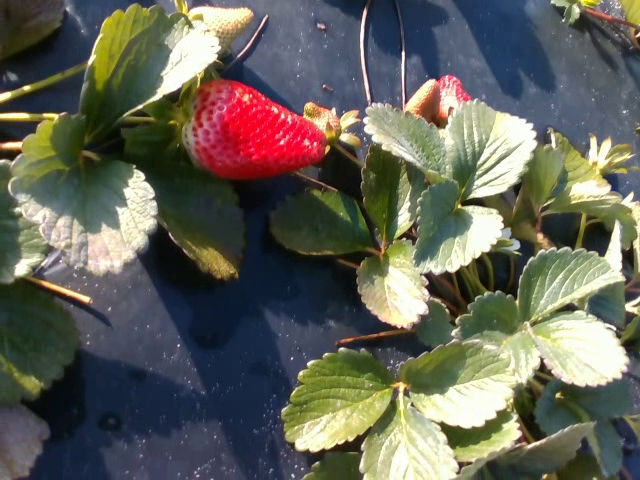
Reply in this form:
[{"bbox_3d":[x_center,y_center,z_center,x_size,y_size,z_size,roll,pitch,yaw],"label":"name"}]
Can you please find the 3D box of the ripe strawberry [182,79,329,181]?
[{"bbox_3d":[-0.027,-0.049,0.283,0.072,0.057,0.055,5,27,-6],"label":"ripe strawberry"}]
